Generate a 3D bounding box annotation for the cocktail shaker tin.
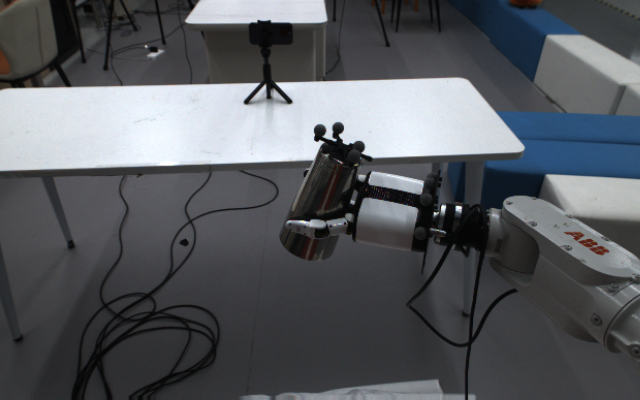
[{"bbox_3d":[0.006,-0.004,0.736,0.093,0.170,0.093,15,31,-10],"label":"cocktail shaker tin"}]
